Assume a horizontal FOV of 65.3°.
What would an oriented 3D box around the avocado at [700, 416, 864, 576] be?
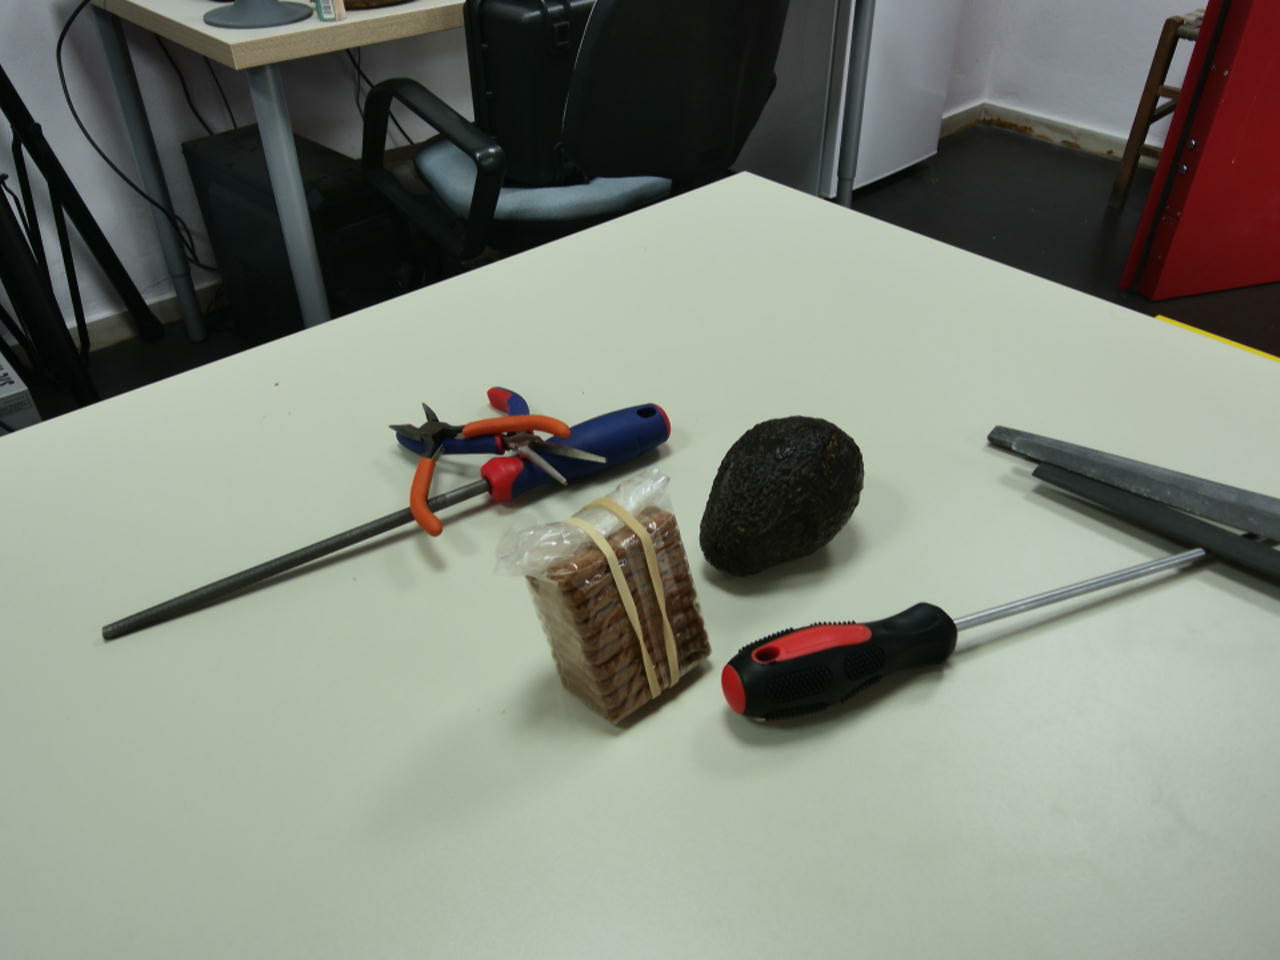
[{"bbox_3d":[0.070,0.004,0.510,0.090,0.069,0.070,-9,37,-12],"label":"avocado"}]
